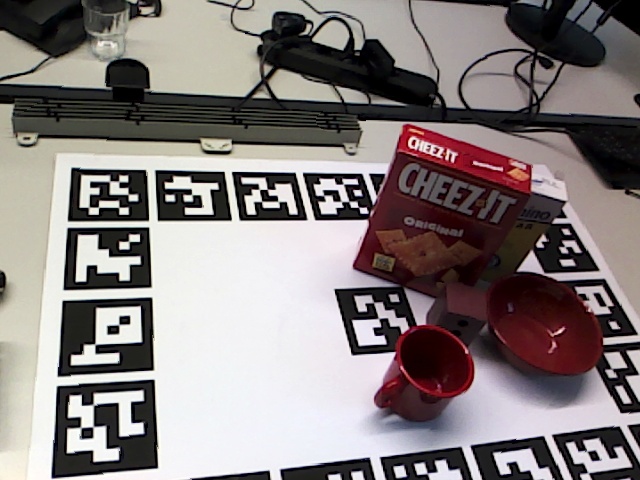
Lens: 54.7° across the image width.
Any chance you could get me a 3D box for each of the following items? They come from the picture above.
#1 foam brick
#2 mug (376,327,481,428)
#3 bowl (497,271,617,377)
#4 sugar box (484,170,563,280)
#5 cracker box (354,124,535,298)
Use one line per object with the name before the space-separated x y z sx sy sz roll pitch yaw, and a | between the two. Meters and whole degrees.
foam brick | 0.175 0.100 0.802 0.052 0.078 0.051 10 46 -6
mug | 0.118 0.165 0.713 0.117 0.081 0.094 -9 44 -21
bowl | 0.299 0.119 0.814 0.161 0.055 0.162 8 48 -9
sugar box | 0.254 -0.023 0.863 0.093 0.176 0.045 15 46 -2
cracker box | 0.155 -0.023 0.811 0.164 0.213 0.072 22 44 3
